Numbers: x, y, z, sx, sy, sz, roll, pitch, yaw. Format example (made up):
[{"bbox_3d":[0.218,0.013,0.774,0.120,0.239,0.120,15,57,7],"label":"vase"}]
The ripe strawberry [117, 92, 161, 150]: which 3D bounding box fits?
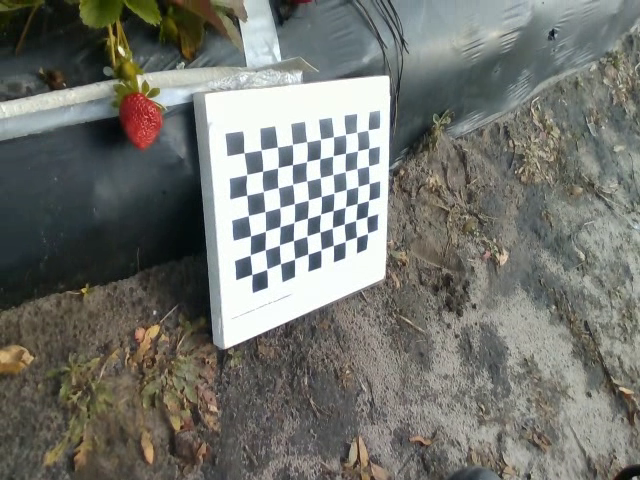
[{"bbox_3d":[-0.143,-0.096,0.555,0.030,0.053,0.047,-12,-31,29],"label":"ripe strawberry"}]
